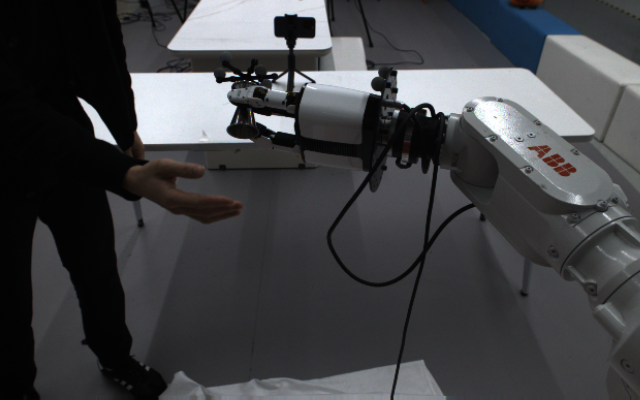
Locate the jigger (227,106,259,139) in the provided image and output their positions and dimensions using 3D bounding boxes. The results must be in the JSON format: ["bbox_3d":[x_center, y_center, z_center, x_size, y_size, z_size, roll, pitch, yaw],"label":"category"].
[{"bbox_3d":[-0.105,-0.125,0.663,0.043,0.043,0.071,1,71,-2],"label":"jigger"}]
